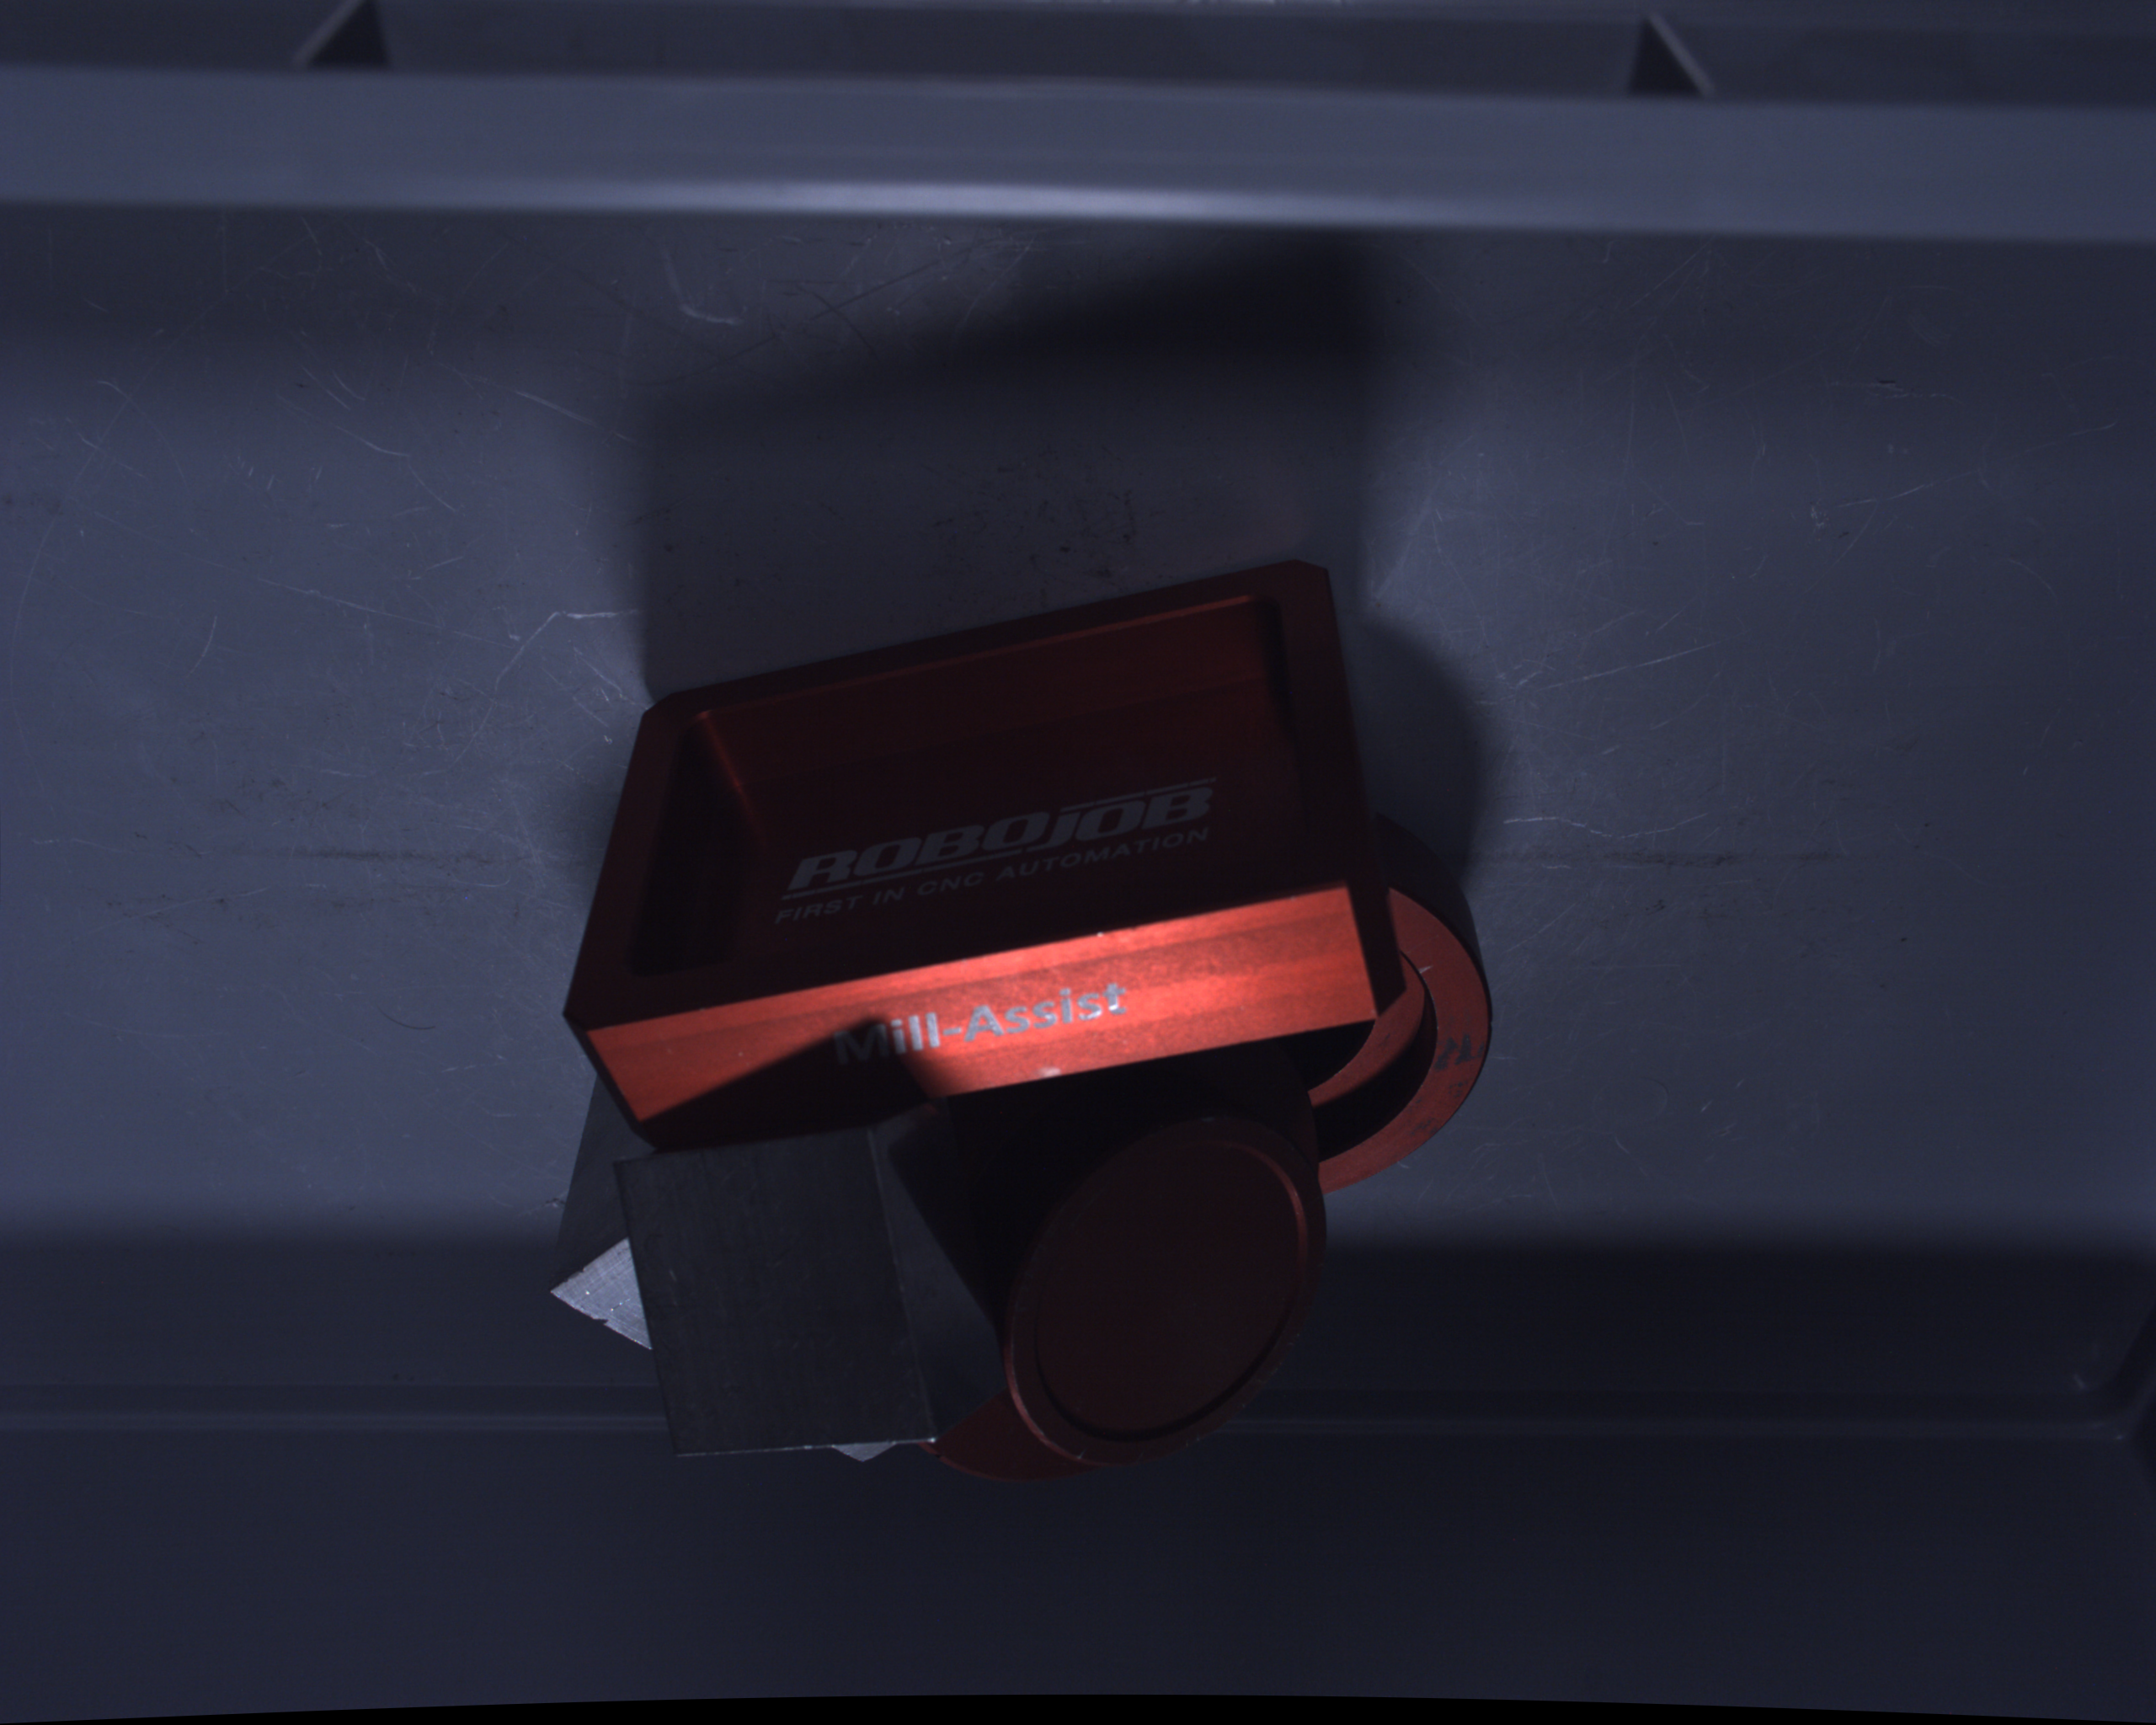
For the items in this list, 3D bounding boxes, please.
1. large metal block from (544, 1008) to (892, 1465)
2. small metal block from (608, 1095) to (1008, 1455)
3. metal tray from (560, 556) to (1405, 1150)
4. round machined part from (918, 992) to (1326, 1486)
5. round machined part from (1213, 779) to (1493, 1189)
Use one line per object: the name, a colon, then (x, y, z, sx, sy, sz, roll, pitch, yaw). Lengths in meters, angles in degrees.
large metal block: (-0.053, 0.061, 0.423, 0.050, 0.080, 0.080, -36, 122, 26)
small metal block: (-0.044, 0.067, 0.343, 0.050, 0.025, 0.050, -11, 92, 25)
metal tray: (-0.016, -0.004, 0.360, 0.131, 0.090, 0.030, -11, 130, 9)
round machined part: (0.006, 0.070, 0.379, 0.099, 0.042, 0.097, -12, 112, -31)
round machined part: (0.030, 0.021, 0.416, 0.099, 0.042, 0.097, -1, 130, 0)
